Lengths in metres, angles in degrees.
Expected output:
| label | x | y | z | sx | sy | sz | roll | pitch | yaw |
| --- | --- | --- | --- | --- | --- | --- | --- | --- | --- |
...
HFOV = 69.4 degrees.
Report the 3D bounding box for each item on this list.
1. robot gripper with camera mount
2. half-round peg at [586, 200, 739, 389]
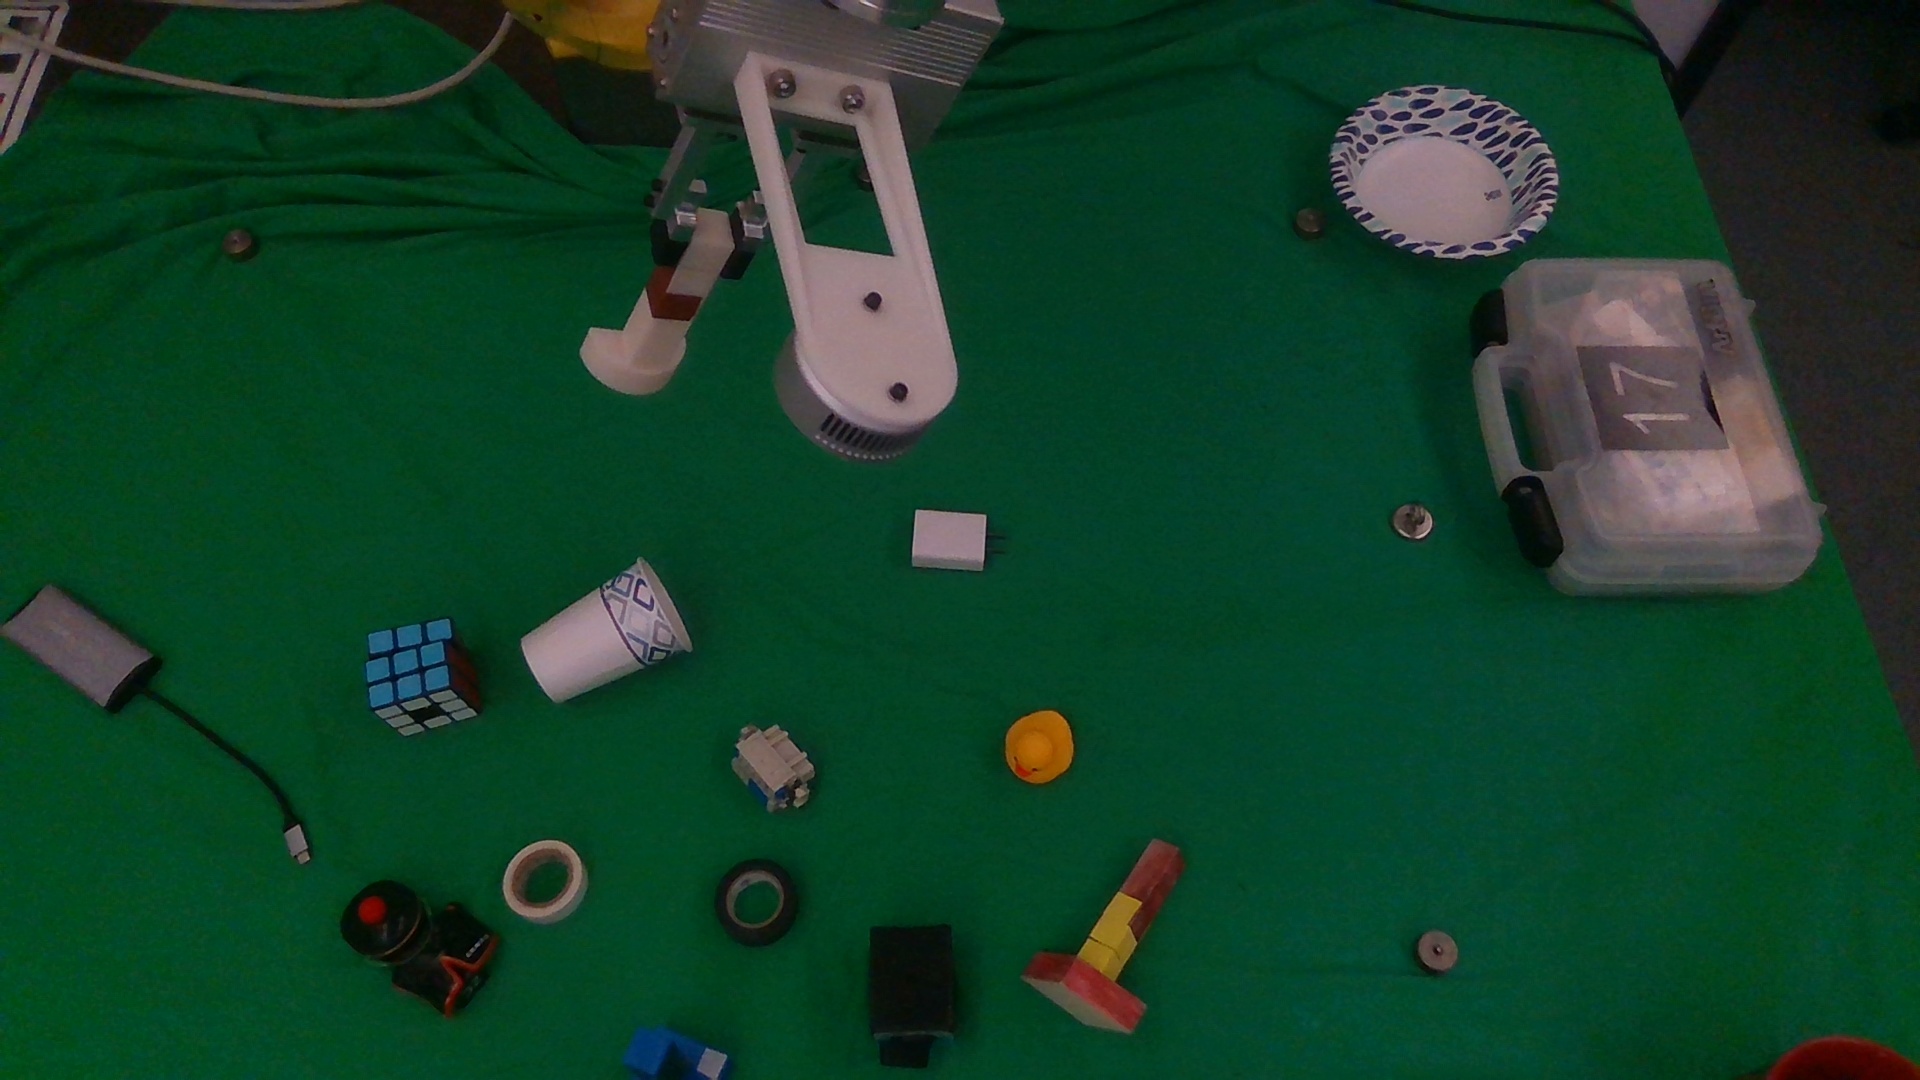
| label | x | y | z | sx | sy | sz | roll | pitch | yaw |
| --- | --- | --- | --- | --- | --- | --- | --- | --- | --- |
| robot gripper with camera mount | -0.061 | -0.105 | 0.547 | 0.118 | 0.159 | 0.193 | 1 | 57 | -29 |
| half-round peg | -0.138 | -0.117 | 0.666 | 0.054 | 0.122 | 0.031 | 3 | 60 | -29 |
